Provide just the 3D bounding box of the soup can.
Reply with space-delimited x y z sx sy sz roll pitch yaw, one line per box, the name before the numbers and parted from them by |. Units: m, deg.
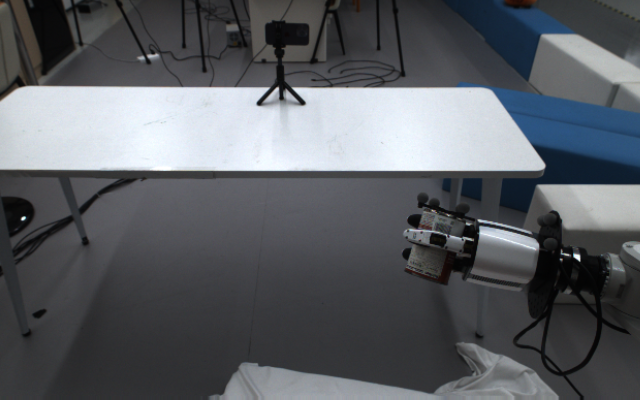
soup can | 0.177 0.070 0.738 0.067 0.101 0.067 17 -1 0
